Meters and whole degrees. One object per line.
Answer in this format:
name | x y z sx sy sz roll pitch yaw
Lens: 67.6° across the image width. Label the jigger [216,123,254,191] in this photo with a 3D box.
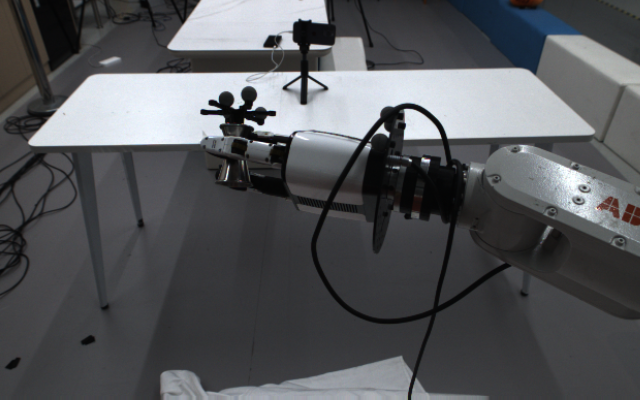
jigger | -0.097 -0.051 0.564 0.043 0.071 0.043 2 -6 0
